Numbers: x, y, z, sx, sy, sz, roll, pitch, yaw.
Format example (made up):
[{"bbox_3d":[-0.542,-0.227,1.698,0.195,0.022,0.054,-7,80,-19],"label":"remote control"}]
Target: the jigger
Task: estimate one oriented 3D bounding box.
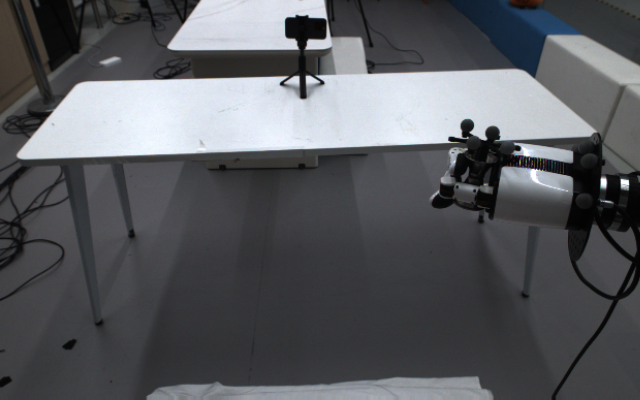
[{"bbox_3d":[0.204,-0.026,0.636,0.043,0.071,0.043,6,26,-3],"label":"jigger"}]
